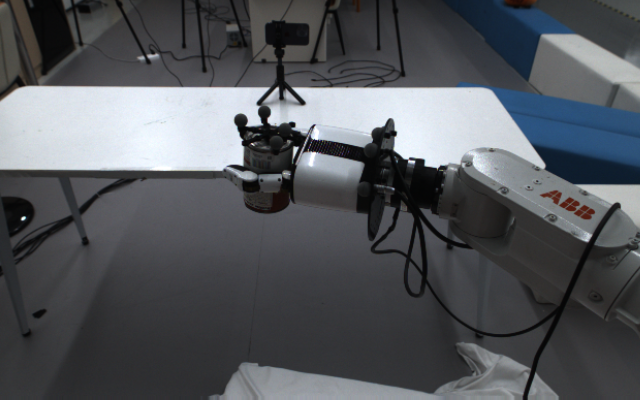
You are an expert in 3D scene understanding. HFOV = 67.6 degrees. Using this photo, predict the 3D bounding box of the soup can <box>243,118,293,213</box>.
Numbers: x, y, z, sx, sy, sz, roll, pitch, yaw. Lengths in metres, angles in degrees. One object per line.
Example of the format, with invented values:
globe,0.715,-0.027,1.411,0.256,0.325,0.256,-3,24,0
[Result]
soup can,-0.070,-0.041,0.660,0.067,0.101,0.067,5,37,-3
